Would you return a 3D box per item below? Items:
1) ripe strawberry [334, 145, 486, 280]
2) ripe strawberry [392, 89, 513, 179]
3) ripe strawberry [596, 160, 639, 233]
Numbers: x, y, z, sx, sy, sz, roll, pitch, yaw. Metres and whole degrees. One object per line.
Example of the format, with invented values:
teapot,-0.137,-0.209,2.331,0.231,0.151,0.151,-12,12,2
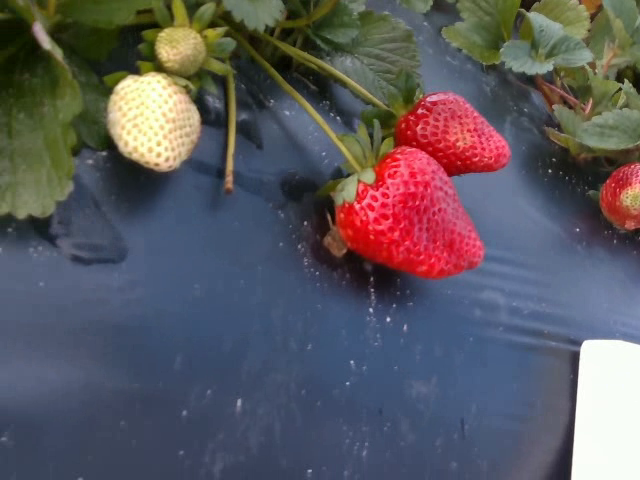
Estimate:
ripe strawberry,0.041,-0.008,0.249,0.065,0.059,0.044,41,-17,1
ripe strawberry,0.066,-0.048,0.295,0.059,0.051,0.051,27,-18,29
ripe strawberry,0.175,-0.023,0.348,0.038,0.047,0.053,-4,3,30
